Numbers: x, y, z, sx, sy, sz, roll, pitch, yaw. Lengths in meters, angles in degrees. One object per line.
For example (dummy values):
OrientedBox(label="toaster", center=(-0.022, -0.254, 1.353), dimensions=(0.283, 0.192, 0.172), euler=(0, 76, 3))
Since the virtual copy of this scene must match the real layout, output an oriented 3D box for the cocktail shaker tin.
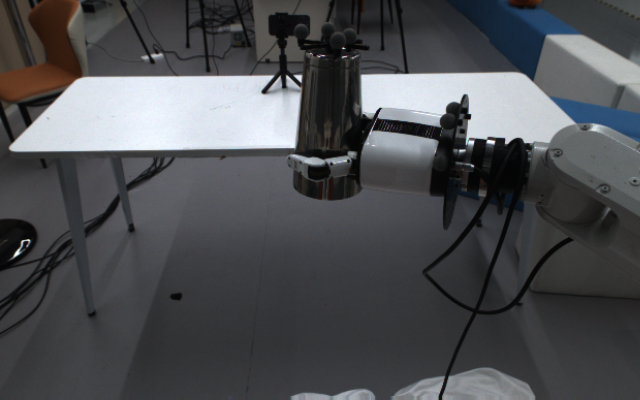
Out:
OrientedBox(label="cocktail shaker tin", center=(0.014, -0.097, 0.599), dimensions=(0.093, 0.170, 0.093), euler=(1, 28, -1))
